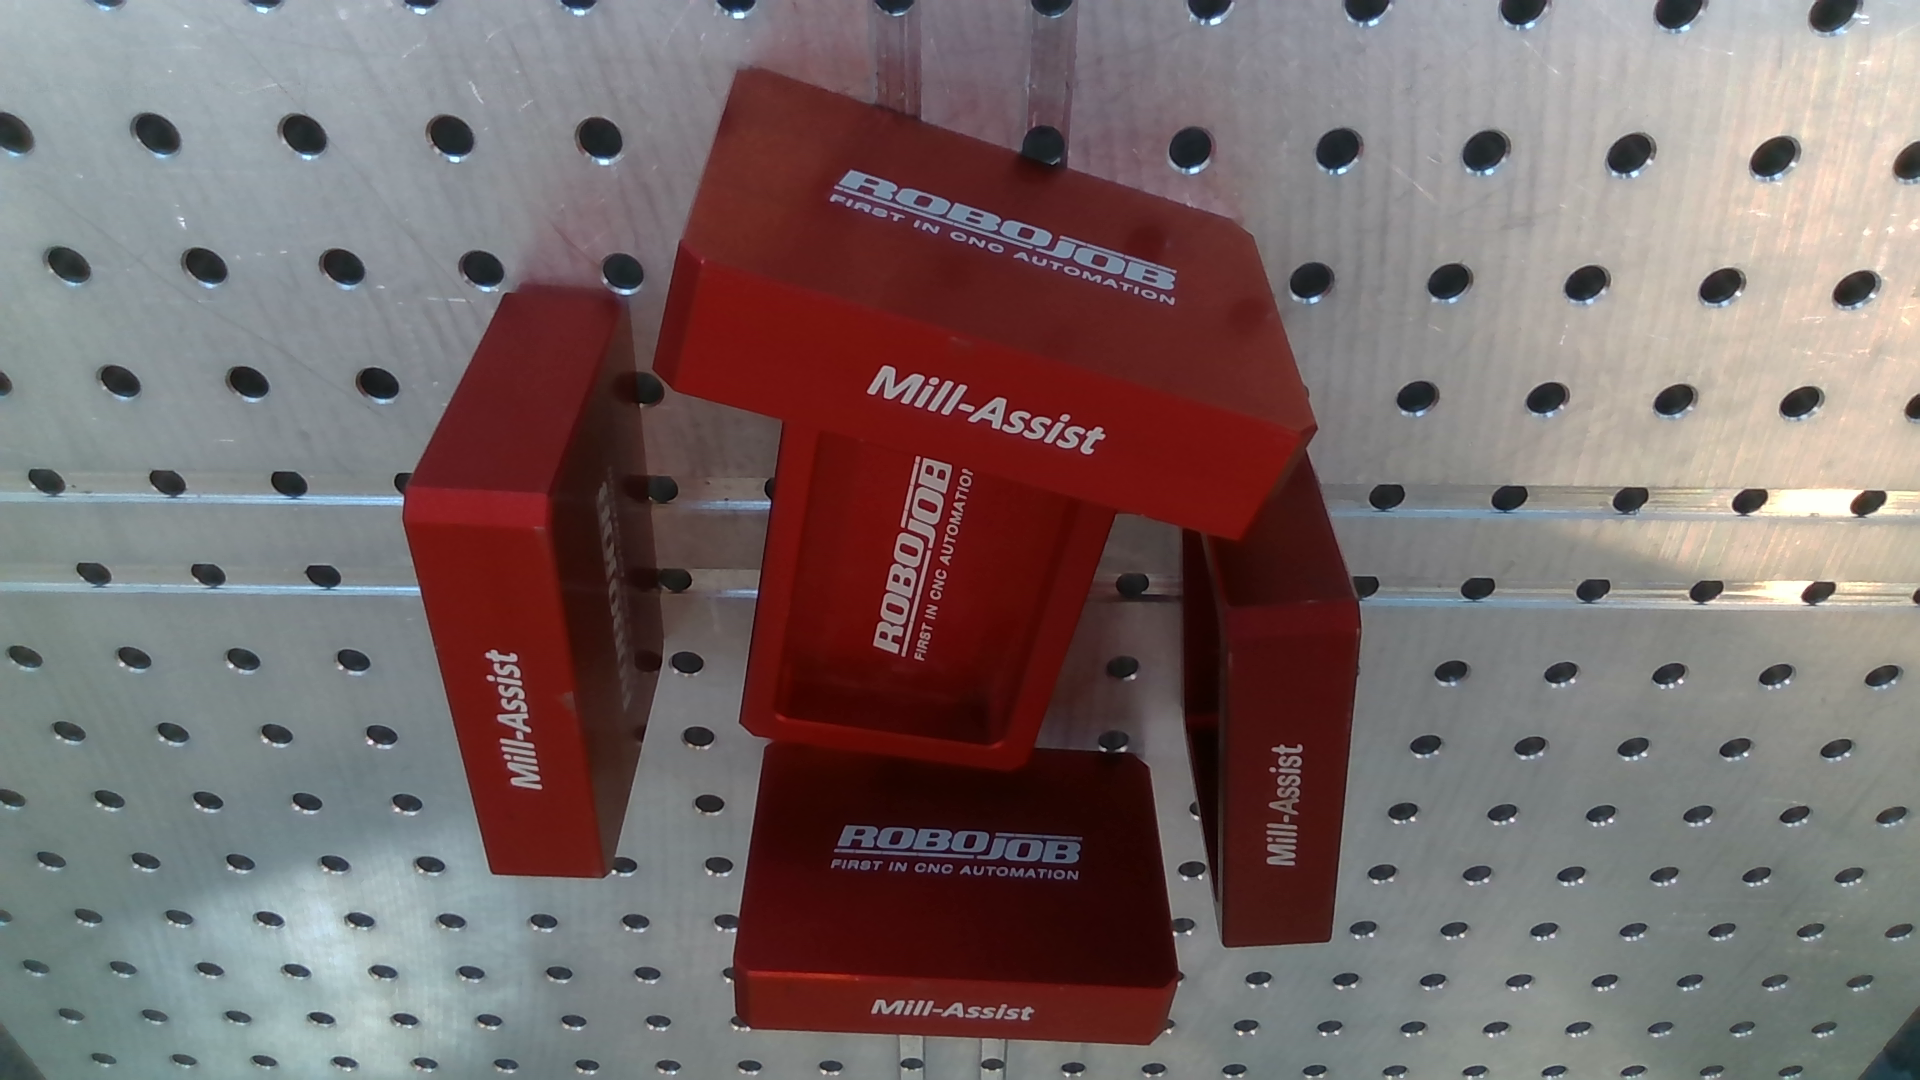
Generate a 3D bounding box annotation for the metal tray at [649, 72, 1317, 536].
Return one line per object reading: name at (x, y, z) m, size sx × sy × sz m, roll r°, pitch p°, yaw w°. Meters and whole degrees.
metal tray at (0.005, -0.054, 0.303) m, size 0.130 × 0.090 × 0.030 m, roll 14°, pitch 128°, yaw -12°

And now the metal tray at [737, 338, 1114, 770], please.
metal tray at (-0.011, 0.008, 0.394) m, size 0.090 × 0.030 × 0.130 m, roll 9°, pitch 130°, yaw -7°

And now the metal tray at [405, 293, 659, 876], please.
metal tray at (-0.105, 0.014, 0.360) m, size 0.030 × 0.090 × 0.130 m, roll 3°, pitch 130°, yaw -2°

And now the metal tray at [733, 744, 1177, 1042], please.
metal tray at (-0.002, 0.110, 0.441) m, size 0.130 × 0.090 × 0.030 m, roll 3°, pitch 130°, yaw -3°

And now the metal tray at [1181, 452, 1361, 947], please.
metal tray at (0.081, 0.038, 0.380) m, size 0.030 × 0.090 × 0.130 m, roll -5°, pitch 130°, yaw 4°
